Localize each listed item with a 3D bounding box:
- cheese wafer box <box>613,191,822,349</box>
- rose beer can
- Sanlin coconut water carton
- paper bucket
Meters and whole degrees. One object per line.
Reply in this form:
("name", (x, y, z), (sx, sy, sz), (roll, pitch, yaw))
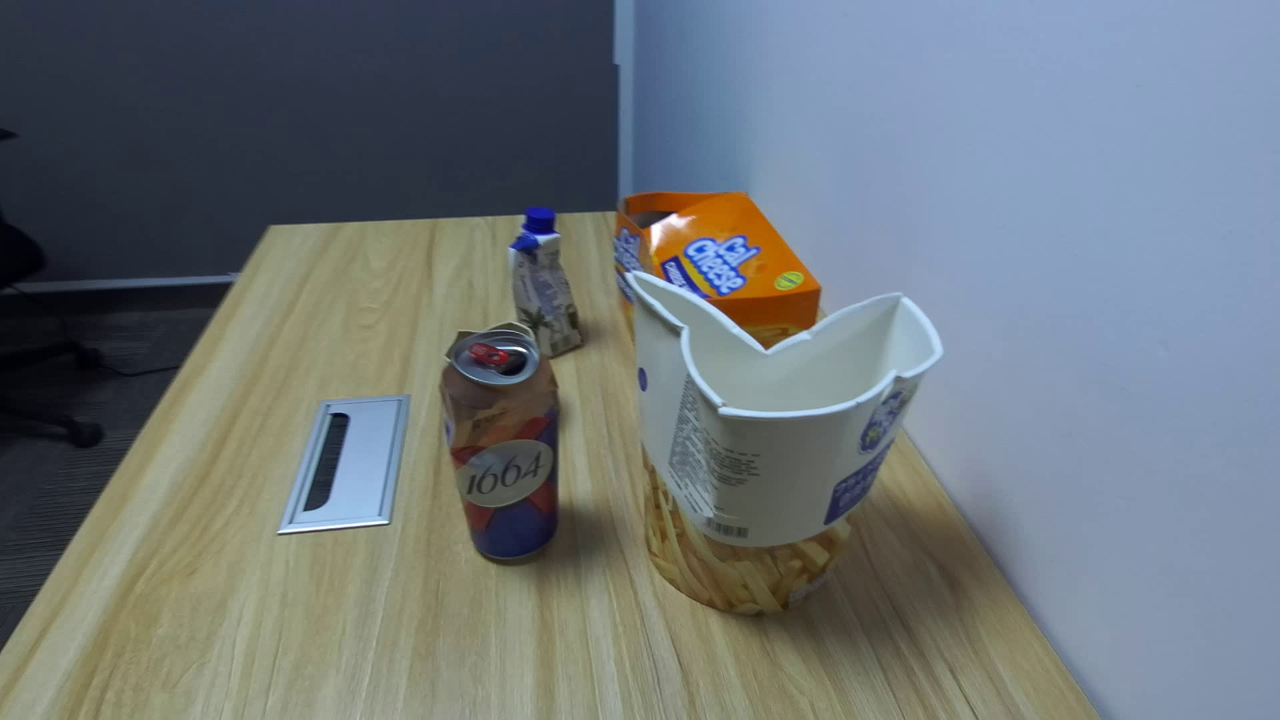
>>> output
("cheese wafer box", (0.064, -0.065, 0.707), (0.152, 0.132, 0.229), (-6, 37, -9))
("rose beer can", (-0.092, 0.064, 0.487), (0.076, 0.167, 0.065), (-9, 37, -18))
("Sanlin coconut water carton", (-0.104, -0.076, 0.706), (0.069, 0.145, 0.056), (-31, 37, -27))
("paper bucket", (0.088, 0.051, 0.483), (0.163, 0.202, 0.168), (-9, 39, -16))
